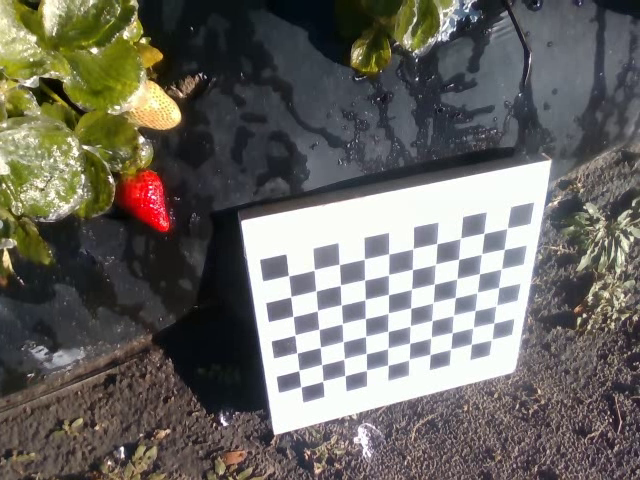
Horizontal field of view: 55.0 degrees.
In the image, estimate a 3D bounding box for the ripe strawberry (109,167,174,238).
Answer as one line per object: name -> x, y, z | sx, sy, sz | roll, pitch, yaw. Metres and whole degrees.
ripe strawberry -> -0.131, -0.023, 0.469 | 0.041, 0.052, 0.040 | -27, 29, -2
